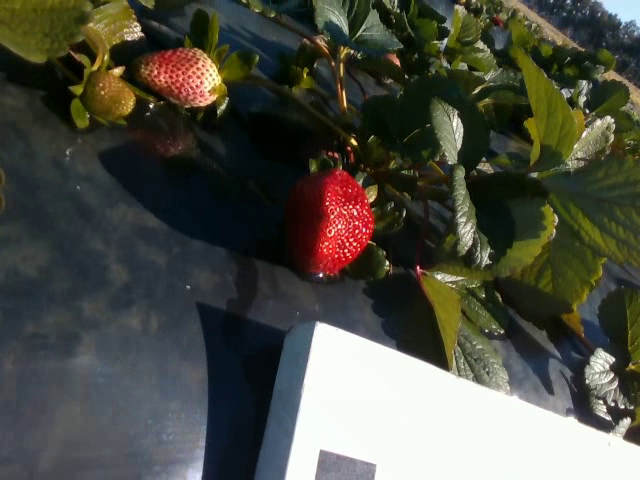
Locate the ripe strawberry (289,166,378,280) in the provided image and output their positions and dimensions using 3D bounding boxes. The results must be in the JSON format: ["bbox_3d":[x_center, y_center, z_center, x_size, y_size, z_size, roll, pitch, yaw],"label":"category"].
[{"bbox_3d":[0.000,-0.007,0.250,0.058,0.066,0.061,-27,5,-10],"label":"ripe strawberry"}]
